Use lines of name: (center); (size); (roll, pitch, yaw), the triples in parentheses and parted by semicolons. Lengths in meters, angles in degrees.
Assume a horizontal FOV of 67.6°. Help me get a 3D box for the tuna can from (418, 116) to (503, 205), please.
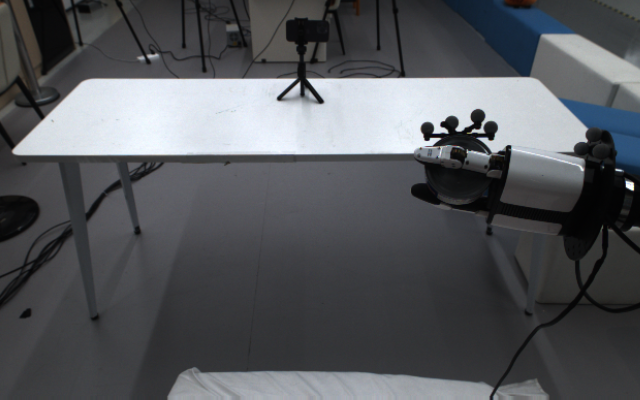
tuna can: (0.178, -0.040, 0.620); (0.085, 0.034, 0.085); (-3, 73, 11)
